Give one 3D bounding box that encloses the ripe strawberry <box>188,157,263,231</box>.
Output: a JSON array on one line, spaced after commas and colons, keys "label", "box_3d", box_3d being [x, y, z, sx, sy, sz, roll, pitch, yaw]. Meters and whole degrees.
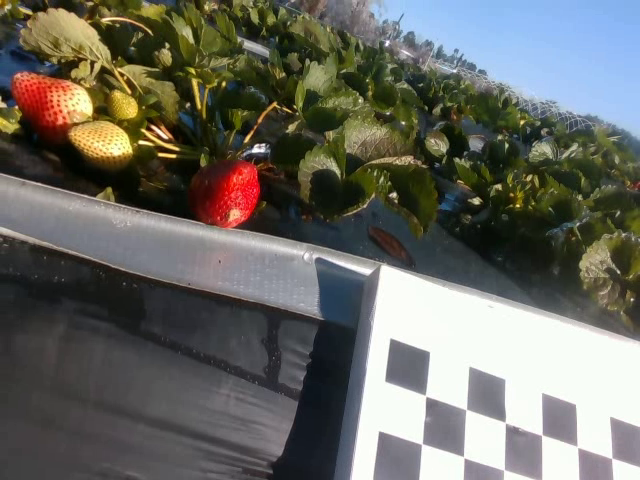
[{"label": "ripe strawberry", "box_3d": [-0.041, -0.022, 0.261, 0.036, 0.038, 0.045, 17, -17, -11]}]
